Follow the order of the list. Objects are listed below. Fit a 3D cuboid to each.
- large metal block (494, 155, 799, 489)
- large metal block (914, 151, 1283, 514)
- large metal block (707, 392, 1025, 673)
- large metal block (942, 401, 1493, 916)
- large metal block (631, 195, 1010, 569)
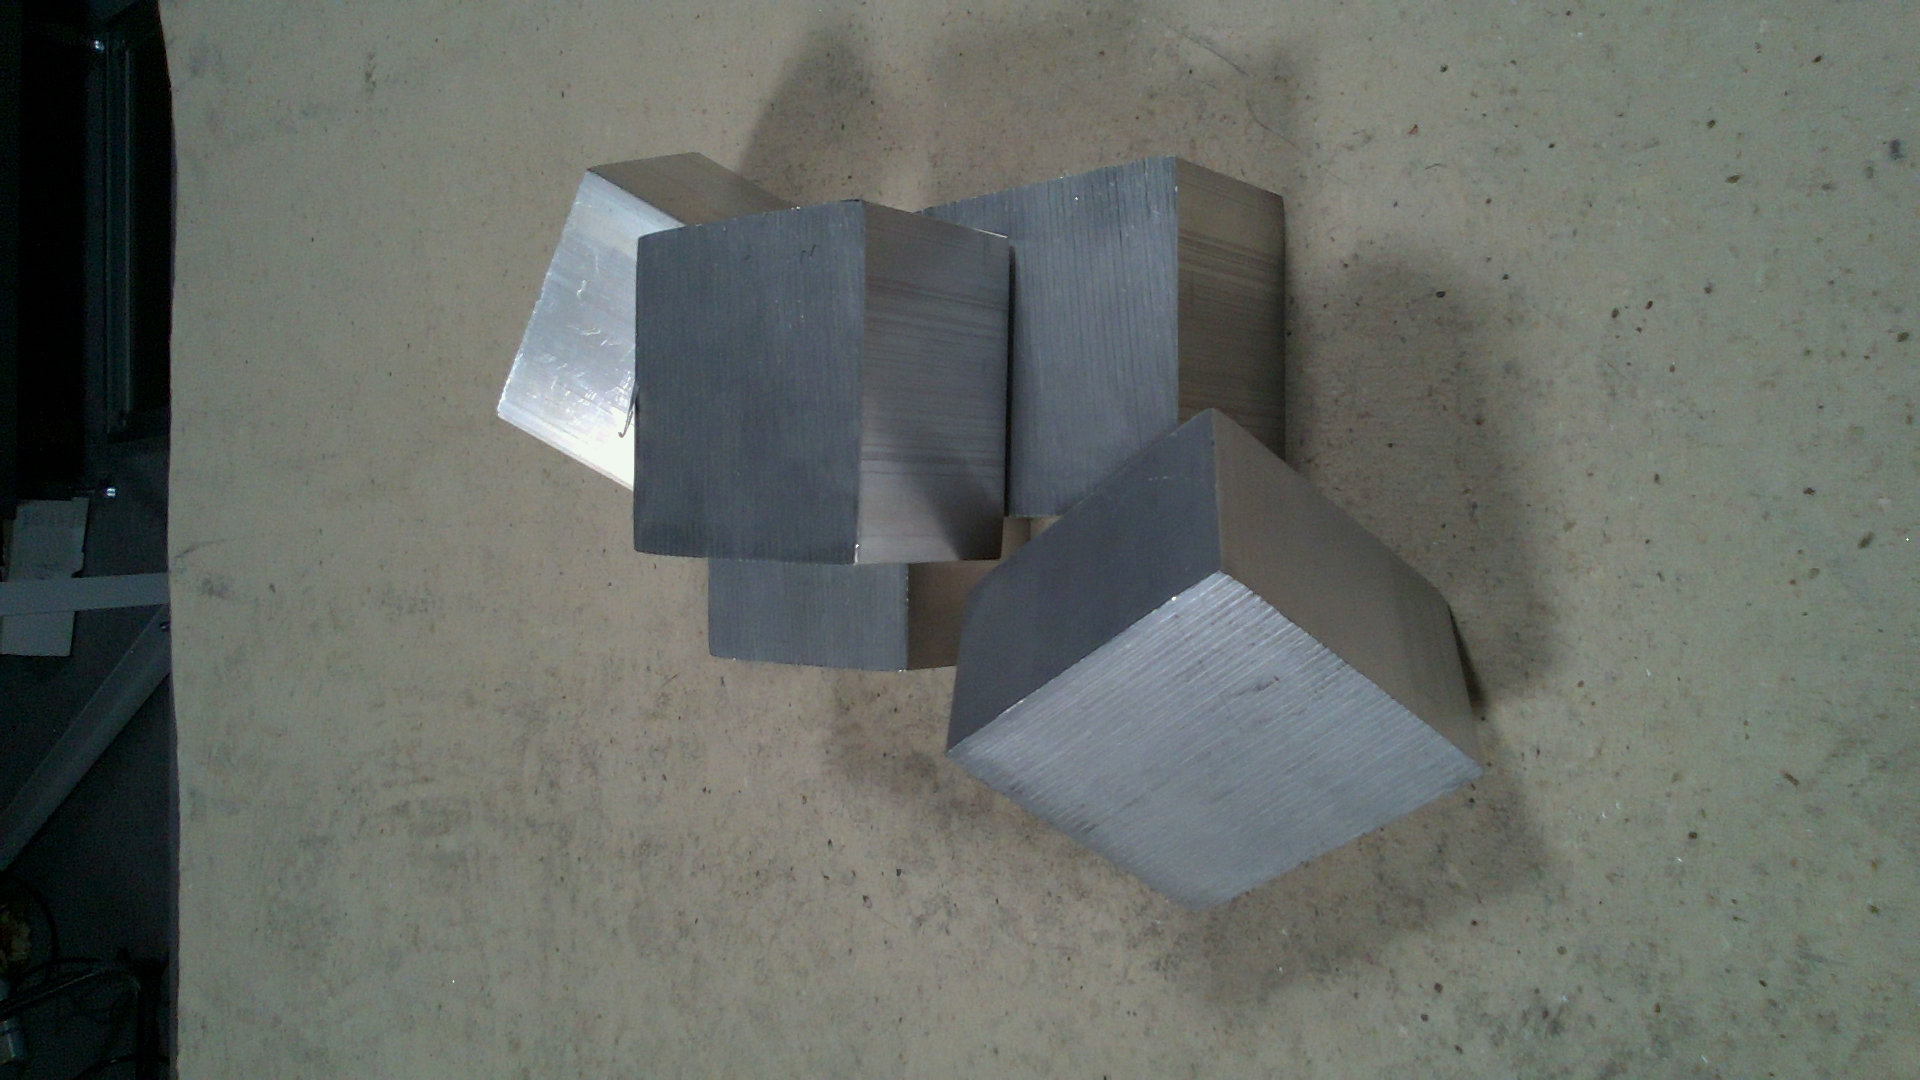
[{"bbox_3d":[-0.089,-0.069,0.424,0.050,0.080,0.080,29,112,1],"label":"large metal block"},{"bbox_3d":[0.034,-0.047,0.350,0.080,0.050,0.080,0,90,40],"label":"large metal block"},{"bbox_3d":[-0.028,-0.006,0.400,0.080,0.050,0.080,0,90,40],"label":"large metal block"},{"bbox_3d":[0.055,0.030,0.304,0.080,0.080,0.050,-38,28,33],"label":"large metal block"},{"bbox_3d":[-0.036,-0.035,0.340,0.080,0.050,0.080,3,92,40],"label":"large metal block"}]
